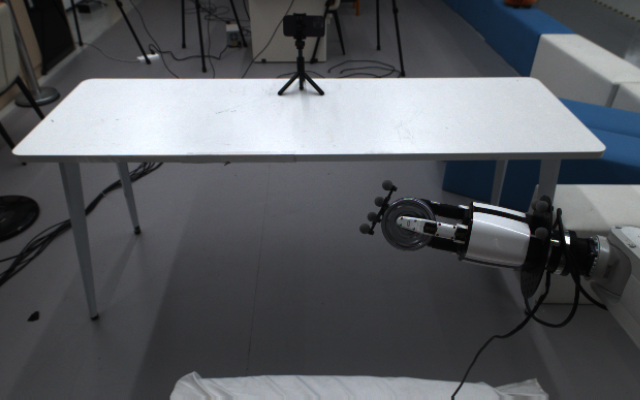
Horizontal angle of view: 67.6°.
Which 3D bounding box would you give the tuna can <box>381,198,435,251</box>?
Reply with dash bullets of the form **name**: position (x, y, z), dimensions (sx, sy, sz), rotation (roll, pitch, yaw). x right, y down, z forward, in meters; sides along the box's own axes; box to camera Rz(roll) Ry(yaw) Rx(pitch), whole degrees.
- **tuna can**: position (0.144, 0.036, 0.775), dimensions (0.085, 0.085, 0.034), rotation (9, 4, 10)
